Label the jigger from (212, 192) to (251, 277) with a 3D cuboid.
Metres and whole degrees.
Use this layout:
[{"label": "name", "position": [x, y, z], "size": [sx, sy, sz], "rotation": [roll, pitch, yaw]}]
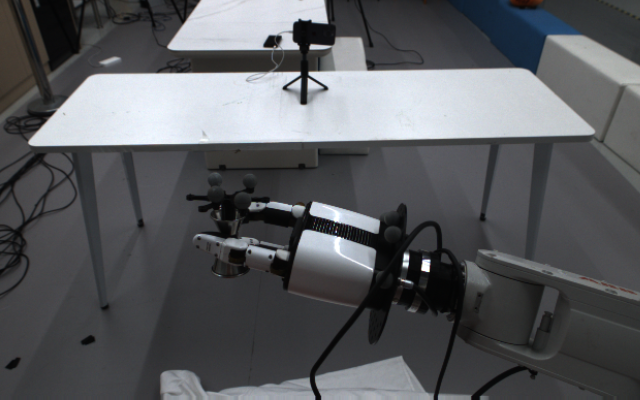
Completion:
[{"label": "jigger", "position": [-0.100, 0.045, 0.545], "size": [0.043, 0.071, 0.043], "rotation": [2, 20, -1]}]
